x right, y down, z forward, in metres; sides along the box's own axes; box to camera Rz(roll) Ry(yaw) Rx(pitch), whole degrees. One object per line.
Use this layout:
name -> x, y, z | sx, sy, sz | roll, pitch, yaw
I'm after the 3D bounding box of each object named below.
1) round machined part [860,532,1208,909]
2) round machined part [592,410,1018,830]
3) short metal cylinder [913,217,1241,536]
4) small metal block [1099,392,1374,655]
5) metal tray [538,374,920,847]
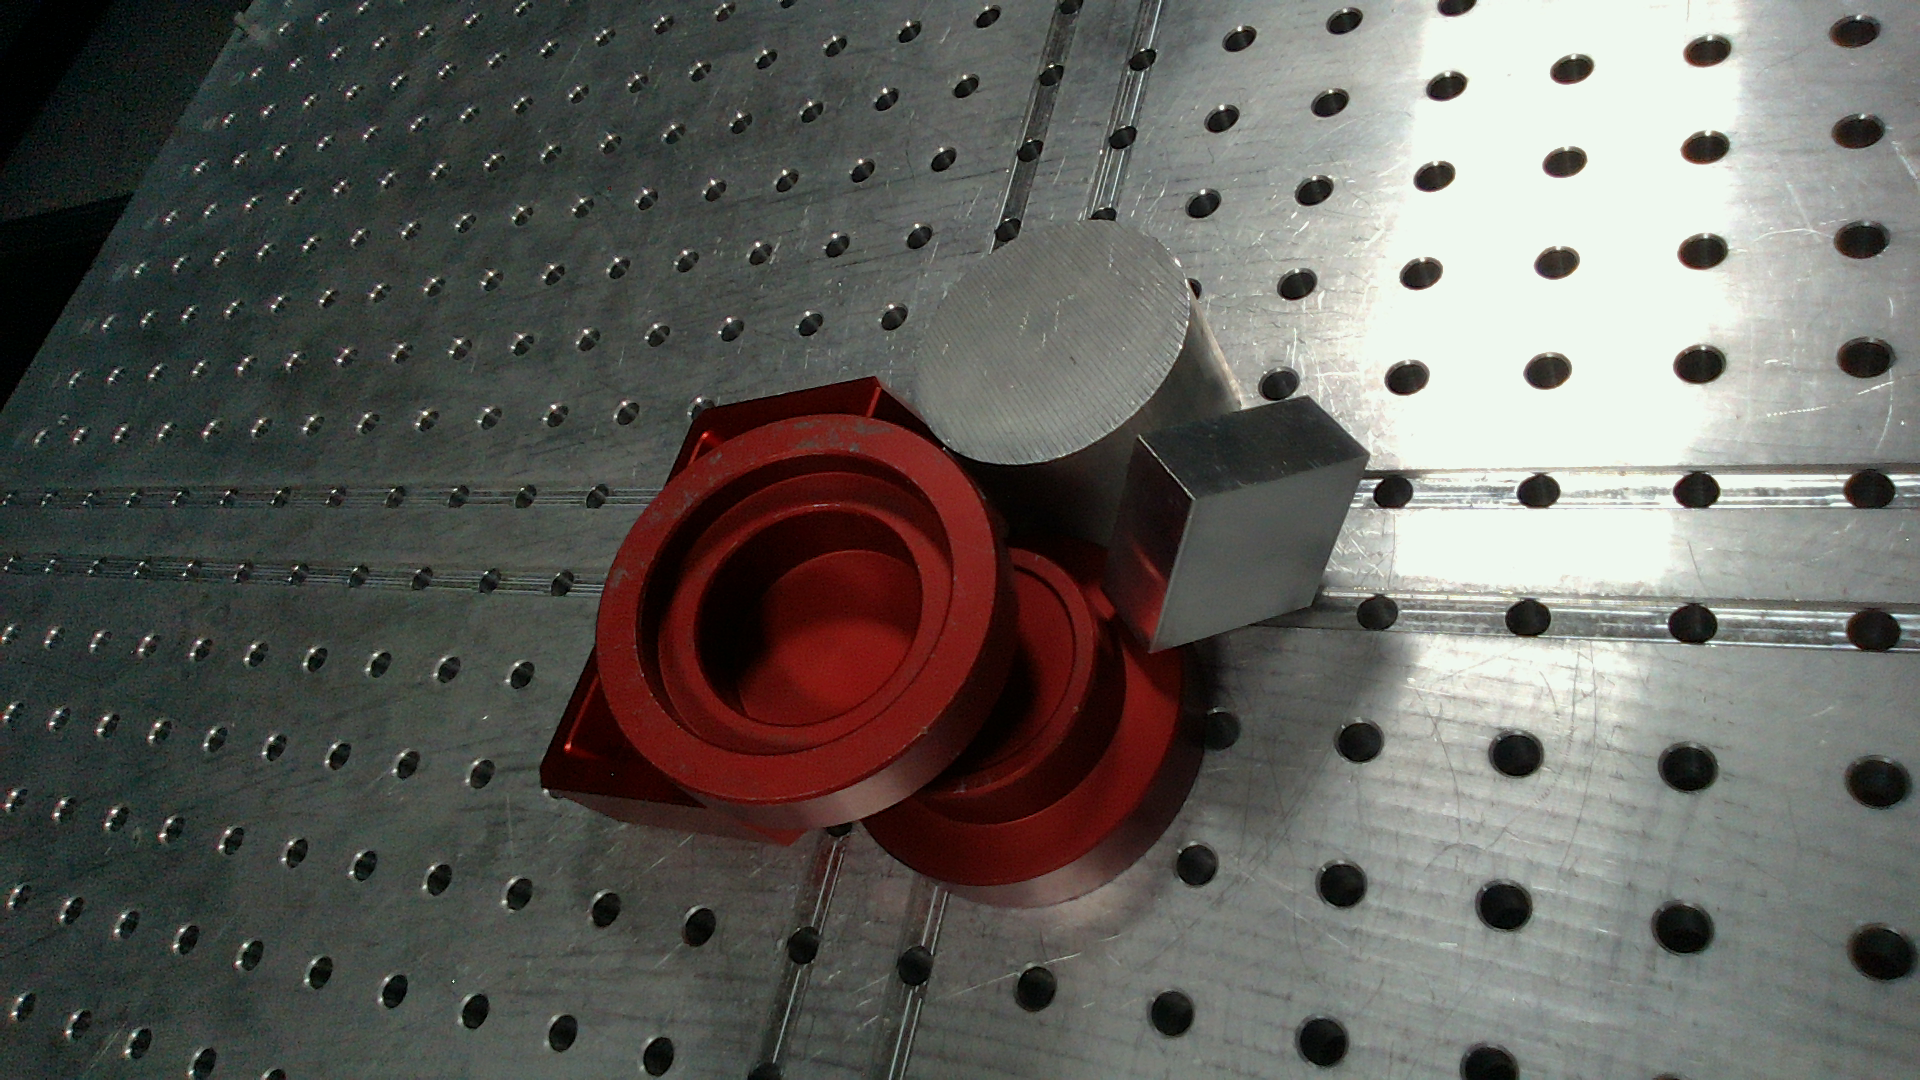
round machined part -> 0.010, 0.040, 0.354 | 0.098, 0.042, 0.098 | -13, 56, 21
round machined part -> -0.033, 0.021, 0.329 | 0.098, 0.042, 0.098 | -7, 62, 13
short metal cylinder -> 0.034, -0.043, 0.389 | 0.080, 0.050, 0.080 | -14, 56, 21
small metal block -> 0.066, -0.004, 0.335 | 0.050, 0.050, 0.025 | -14, 46, -23
metal tray -> -0.064, 0.019, 0.403 | 0.090, 0.030, 0.130 | -4, 58, 43
